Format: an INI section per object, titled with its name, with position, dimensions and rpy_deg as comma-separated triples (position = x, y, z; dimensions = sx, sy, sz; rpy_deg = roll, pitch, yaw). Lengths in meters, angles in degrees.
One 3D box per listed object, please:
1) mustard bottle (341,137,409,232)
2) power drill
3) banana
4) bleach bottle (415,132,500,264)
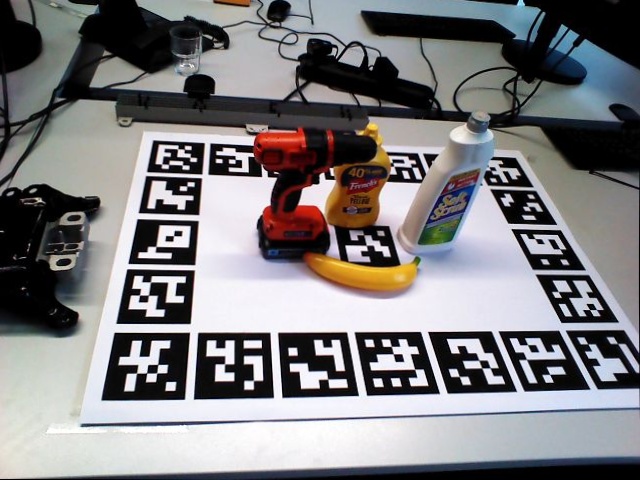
[mustard bottle]
position = 0.099, -0.098, 0.855
dimensions = 0.096, 0.192, 0.058
rpy_deg = 3, 45, -10
[power drill]
position = 0.007, -0.071, 0.784
dimensions = 0.184, 0.188, 0.057
rpy_deg = 1, 39, -14
[banana]
position = 0.106, 0.056, 0.811
dimensions = 0.197, 0.039, 0.074
rpy_deg = 3, 50, -6
[bleach bottle]
position = 0.235, -0.067, 0.821
dimensions = 0.102, 0.252, 0.067
rpy_deg = -4, 48, -15
